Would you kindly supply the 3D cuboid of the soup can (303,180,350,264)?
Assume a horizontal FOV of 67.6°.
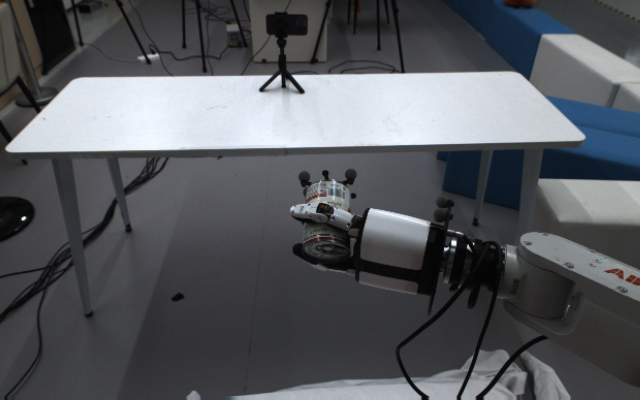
[{"bbox_3d":[0.011,0.030,0.684,0.067,0.067,0.101,3,57,1],"label":"soup can"}]
